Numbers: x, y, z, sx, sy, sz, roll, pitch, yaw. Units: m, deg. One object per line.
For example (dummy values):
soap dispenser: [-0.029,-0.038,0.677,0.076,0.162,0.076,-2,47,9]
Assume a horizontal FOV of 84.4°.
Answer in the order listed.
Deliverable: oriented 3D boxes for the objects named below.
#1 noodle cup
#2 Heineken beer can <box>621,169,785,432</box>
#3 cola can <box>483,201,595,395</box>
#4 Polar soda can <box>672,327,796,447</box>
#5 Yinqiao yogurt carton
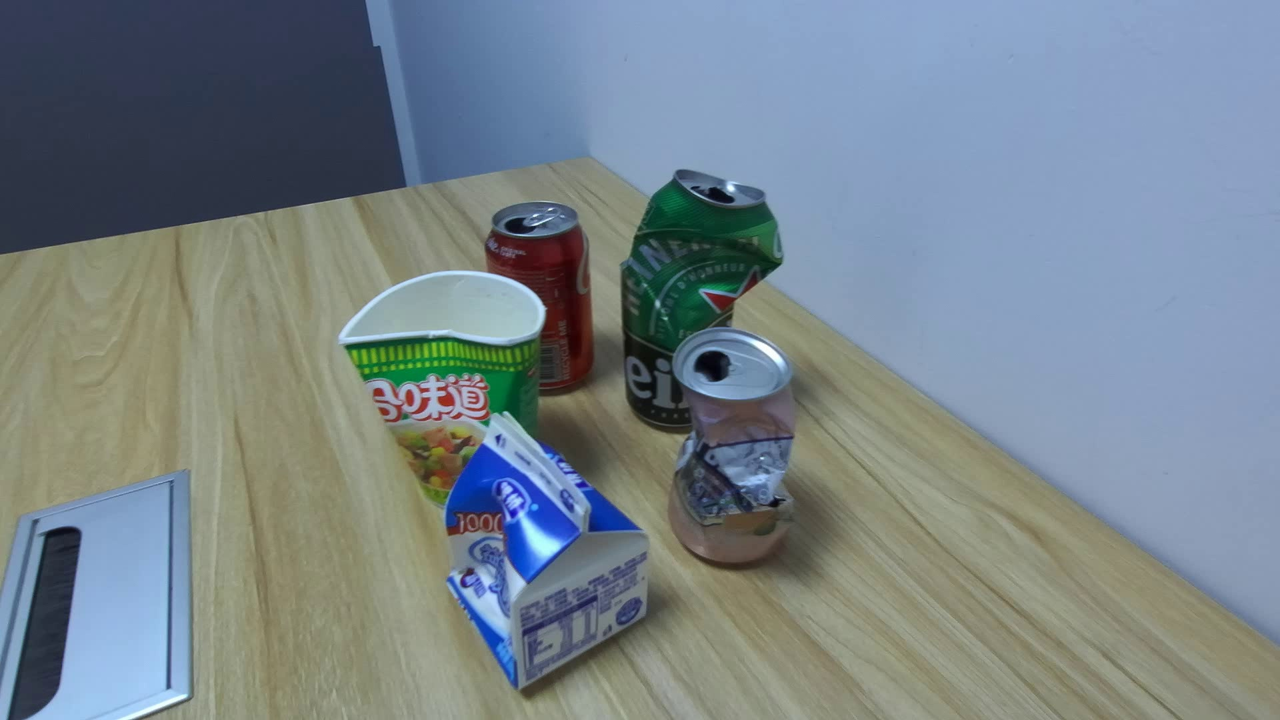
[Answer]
noodle cup: [-0.094,0.019,0.393,0.093,0.109,0.087,13,36,18]
Heineken beer can: [0.028,-0.031,0.424,0.079,0.159,0.067,-10,36,-29]
cola can: [-0.066,-0.042,0.475,0.068,0.120,0.068,-1,33,1]
Polar soda can: [0.047,0.046,0.354,0.074,0.114,0.070,17,45,28]
Yinqiao yogurt carton: [-0.043,0.079,0.322,0.071,0.094,0.077,-18,38,-34]
